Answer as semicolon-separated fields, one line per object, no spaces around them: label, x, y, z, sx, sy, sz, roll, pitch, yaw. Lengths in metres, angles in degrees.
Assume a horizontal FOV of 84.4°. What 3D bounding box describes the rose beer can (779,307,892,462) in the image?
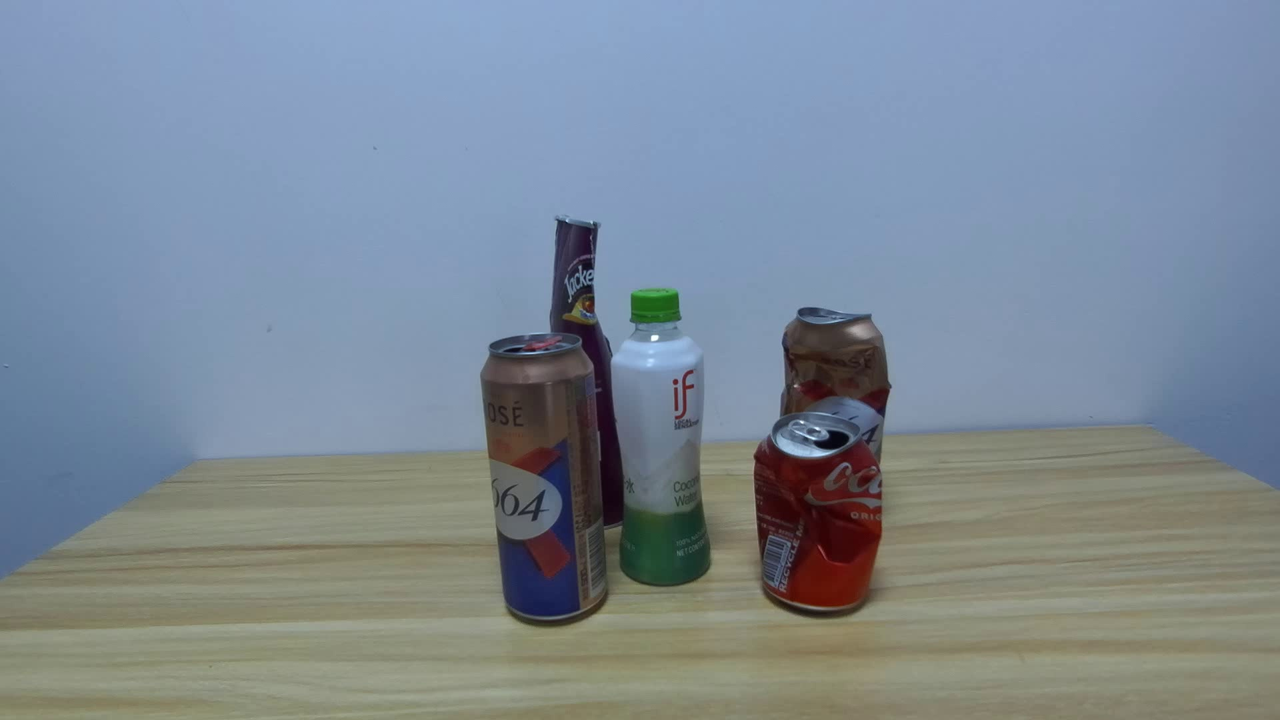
rose beer can;0.140;0.044;0.519;0.073;0.162;0.068;1;12;5

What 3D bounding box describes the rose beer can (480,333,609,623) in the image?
rose beer can;-0.057;0.073;0.435;0.068;0.169;0.068;-3;14;1

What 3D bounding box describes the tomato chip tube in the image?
tomato chip tube;-0.042;0.009;0.546;0.077;0.235;0.090;3;13;24

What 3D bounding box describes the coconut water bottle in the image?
coconut water bottle;0.013;0.050;0.464;0.063;0.188;0.063;-3;13;1
